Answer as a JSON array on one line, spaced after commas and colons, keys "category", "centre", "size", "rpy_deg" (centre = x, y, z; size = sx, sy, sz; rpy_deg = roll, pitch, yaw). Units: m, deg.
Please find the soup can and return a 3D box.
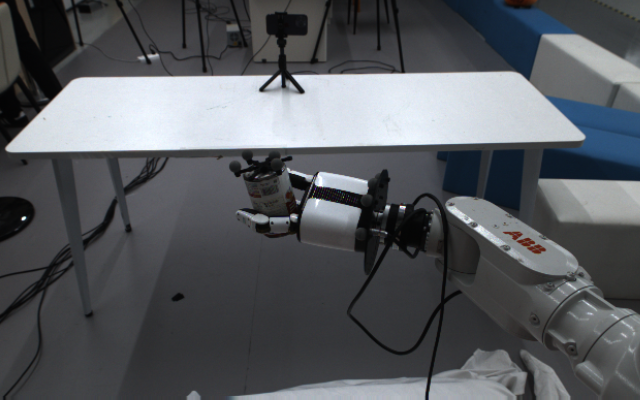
[{"category": "soup can", "centre": [-0.071, -0.002, 0.735], "size": [0.067, 0.101, 0.067], "rpy_deg": [-11, 27, 6]}]
